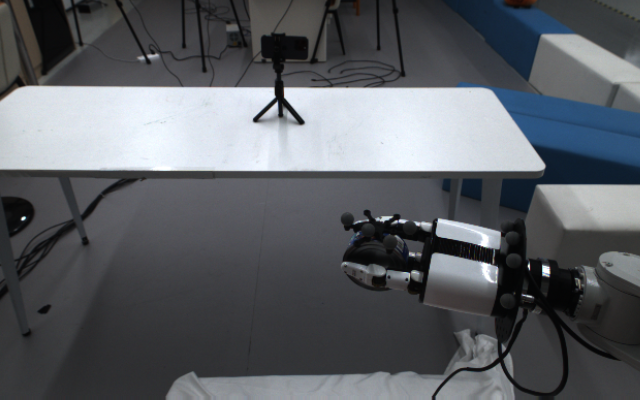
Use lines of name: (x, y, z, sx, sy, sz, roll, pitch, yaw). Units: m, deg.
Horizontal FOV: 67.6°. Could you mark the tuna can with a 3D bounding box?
tuna can: (0.077, 0.076, 0.646, 0.085, 0.085, 0.034, 10, 34, 11)
